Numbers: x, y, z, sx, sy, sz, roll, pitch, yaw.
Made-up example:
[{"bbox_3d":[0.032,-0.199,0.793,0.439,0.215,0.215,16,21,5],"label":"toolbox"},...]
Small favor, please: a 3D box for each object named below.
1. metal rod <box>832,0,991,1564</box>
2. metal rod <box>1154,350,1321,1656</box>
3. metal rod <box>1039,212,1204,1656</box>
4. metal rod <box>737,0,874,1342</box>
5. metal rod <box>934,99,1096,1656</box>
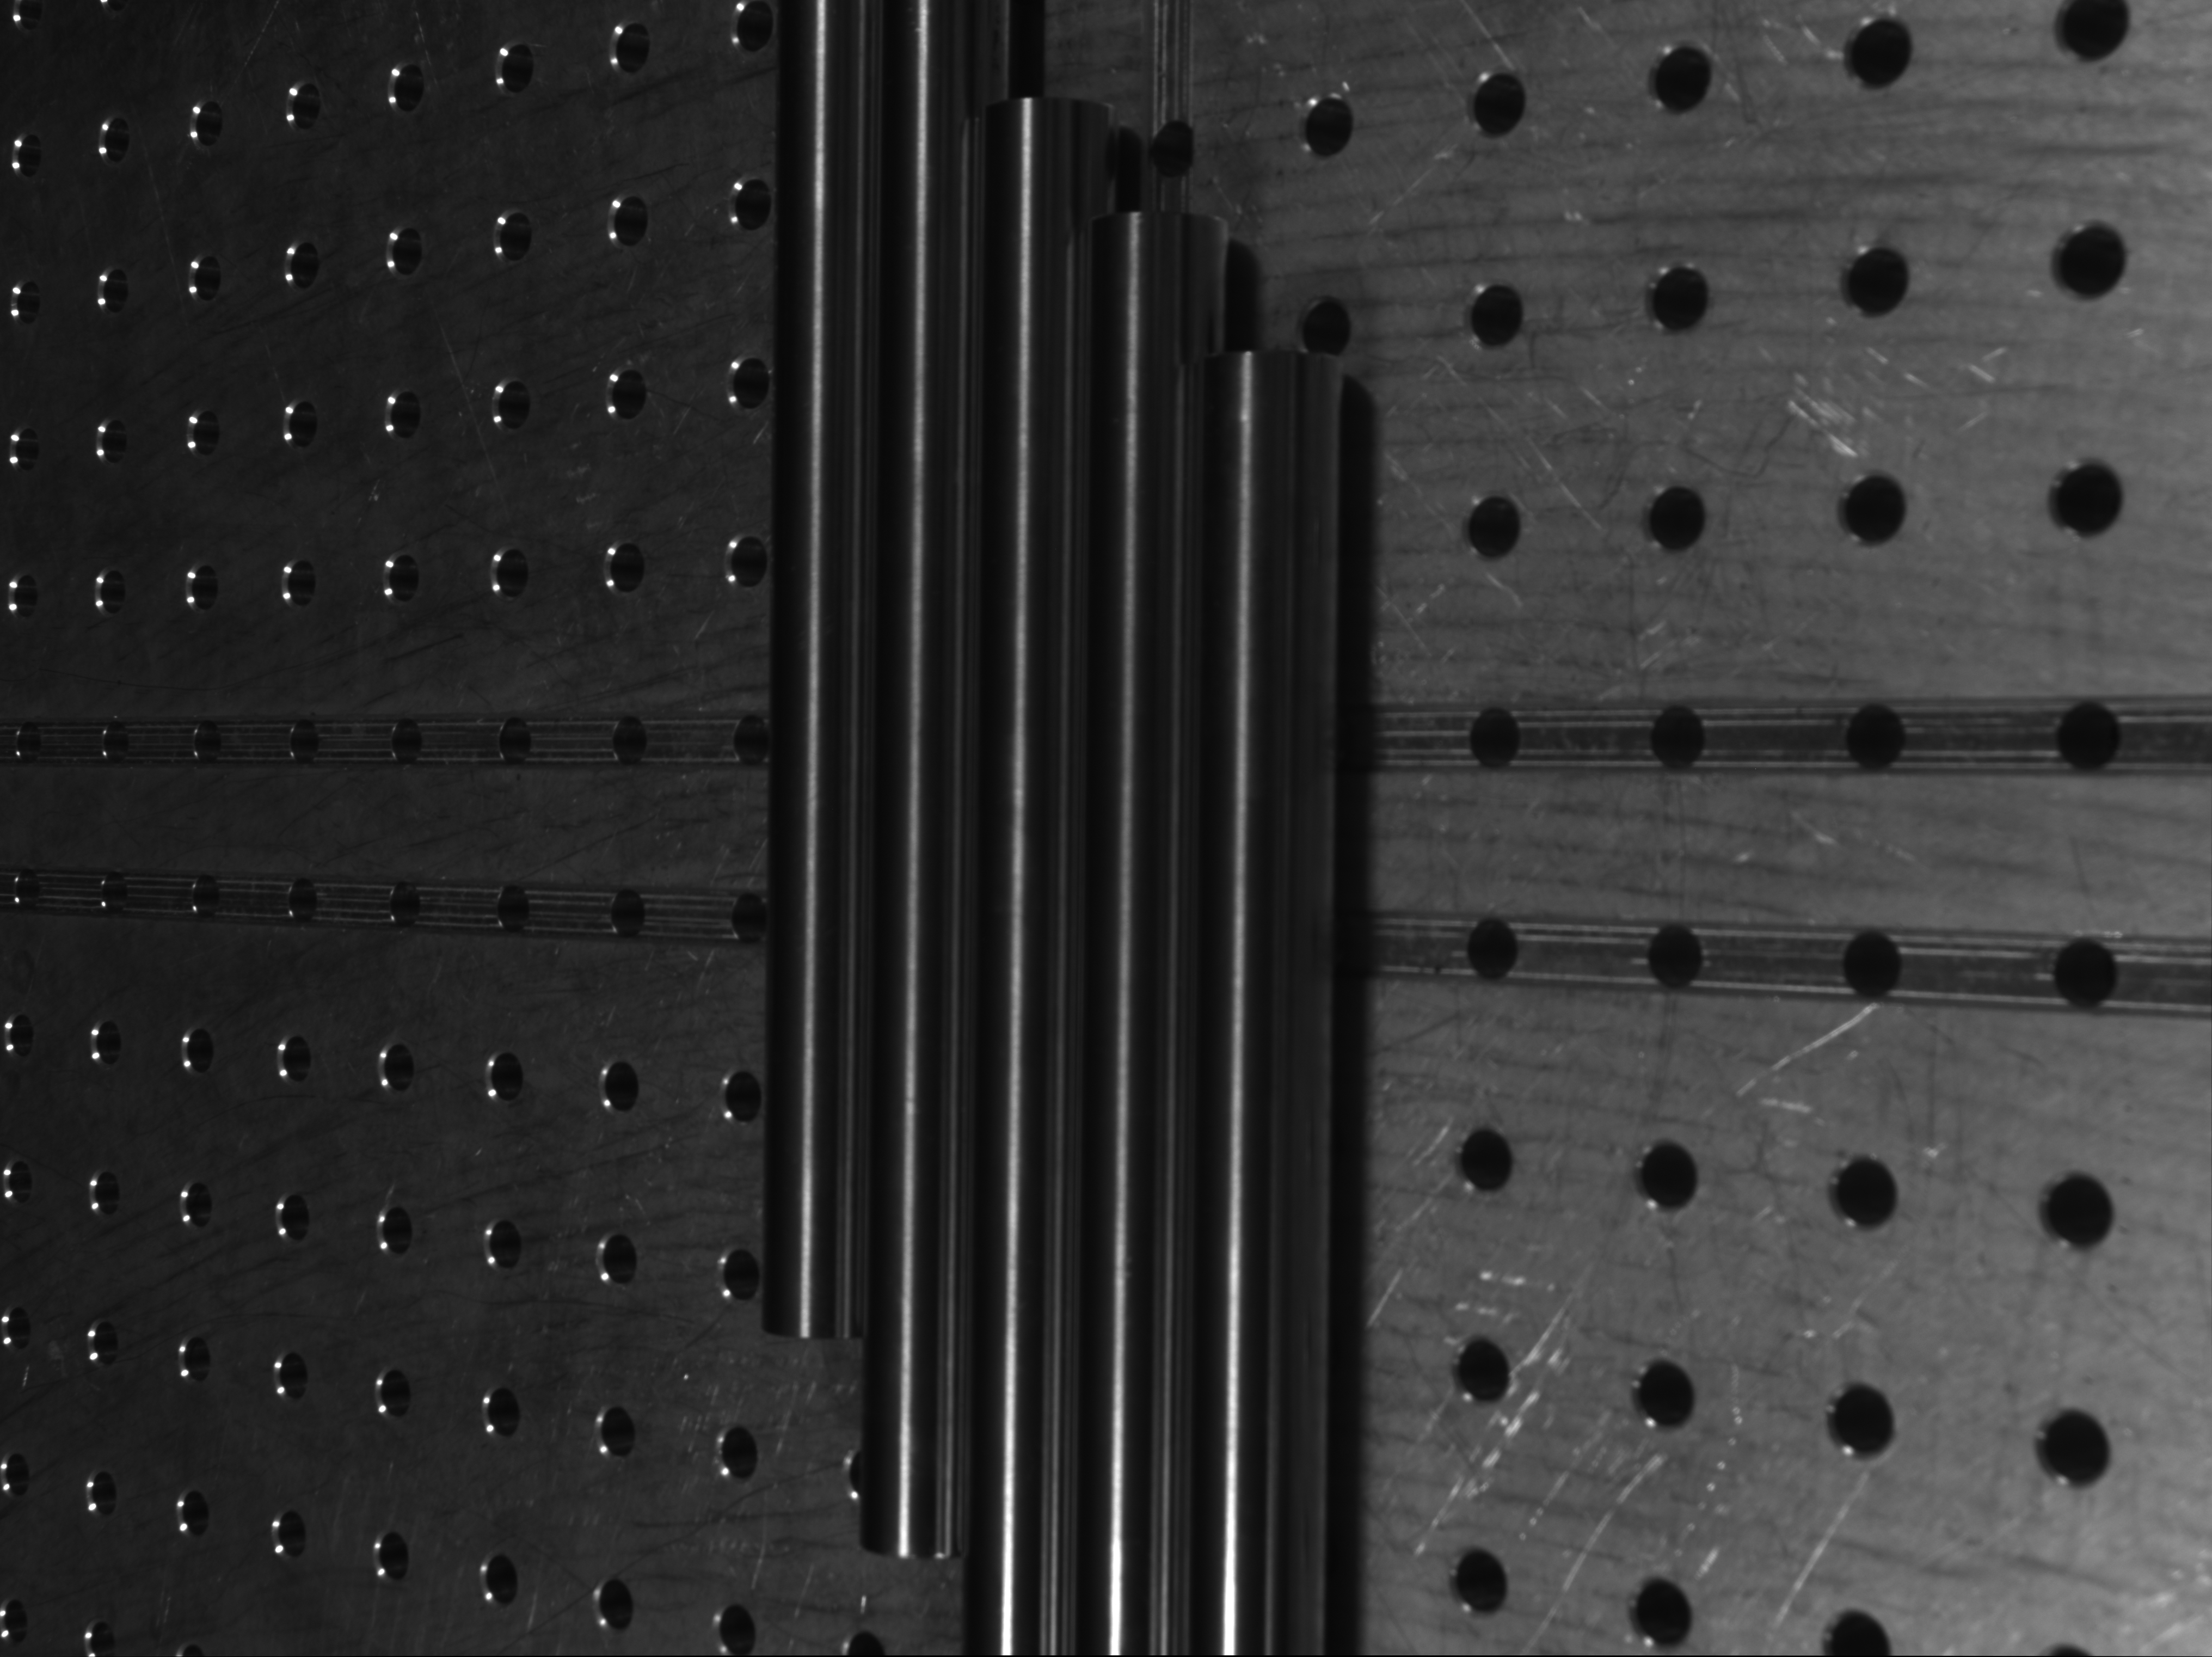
[{"bbox_3d":[-0.035,-0.018,0.667,0.025,0.025,0.300,1,91,39],"label":"metal rod"},{"bbox_3d":[0.022,0.071,0.621,0.025,0.025,0.300,1,91,39],"label":"metal rod"},{"bbox_3d":[0.002,0.045,0.636,0.025,0.025,0.300,1,91,39],"label":"metal rod"},{"bbox_3d":[-0.054,-0.056,0.684,0.025,0.025,0.300,1,91,39],"label":"metal rod"},{"bbox_3d":[-0.016,0.023,0.652,0.025,0.025,0.300,1,91,39],"label":"metal rod"}]
